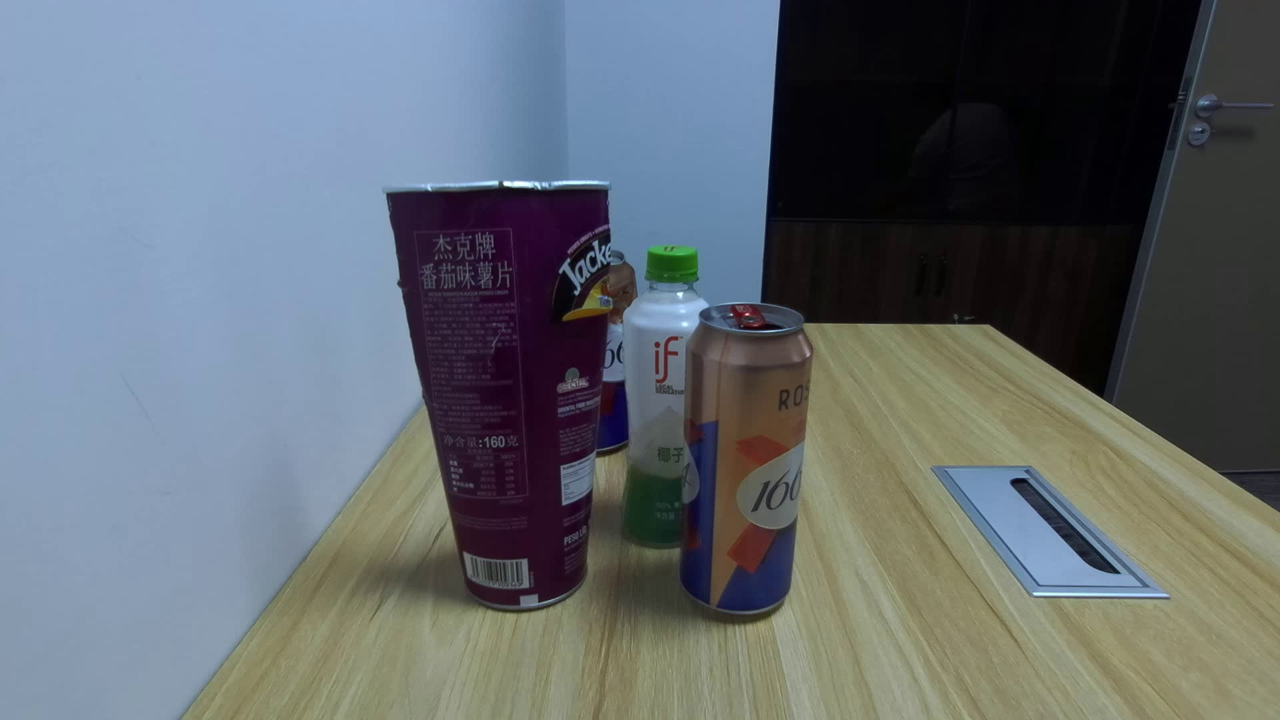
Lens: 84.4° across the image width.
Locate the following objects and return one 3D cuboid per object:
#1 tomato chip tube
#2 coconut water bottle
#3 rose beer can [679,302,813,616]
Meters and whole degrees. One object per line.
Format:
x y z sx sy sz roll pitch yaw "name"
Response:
-0.066 0.021 0.397 0.090 0.236 0.078 7 21 25 "tomato chip tube"
0.020 0.023 0.455 0.063 0.188 0.063 1 18 0 "coconut water bottle"
0.058 0.057 0.394 0.068 0.169 0.068 2 20 0 "rose beer can"
